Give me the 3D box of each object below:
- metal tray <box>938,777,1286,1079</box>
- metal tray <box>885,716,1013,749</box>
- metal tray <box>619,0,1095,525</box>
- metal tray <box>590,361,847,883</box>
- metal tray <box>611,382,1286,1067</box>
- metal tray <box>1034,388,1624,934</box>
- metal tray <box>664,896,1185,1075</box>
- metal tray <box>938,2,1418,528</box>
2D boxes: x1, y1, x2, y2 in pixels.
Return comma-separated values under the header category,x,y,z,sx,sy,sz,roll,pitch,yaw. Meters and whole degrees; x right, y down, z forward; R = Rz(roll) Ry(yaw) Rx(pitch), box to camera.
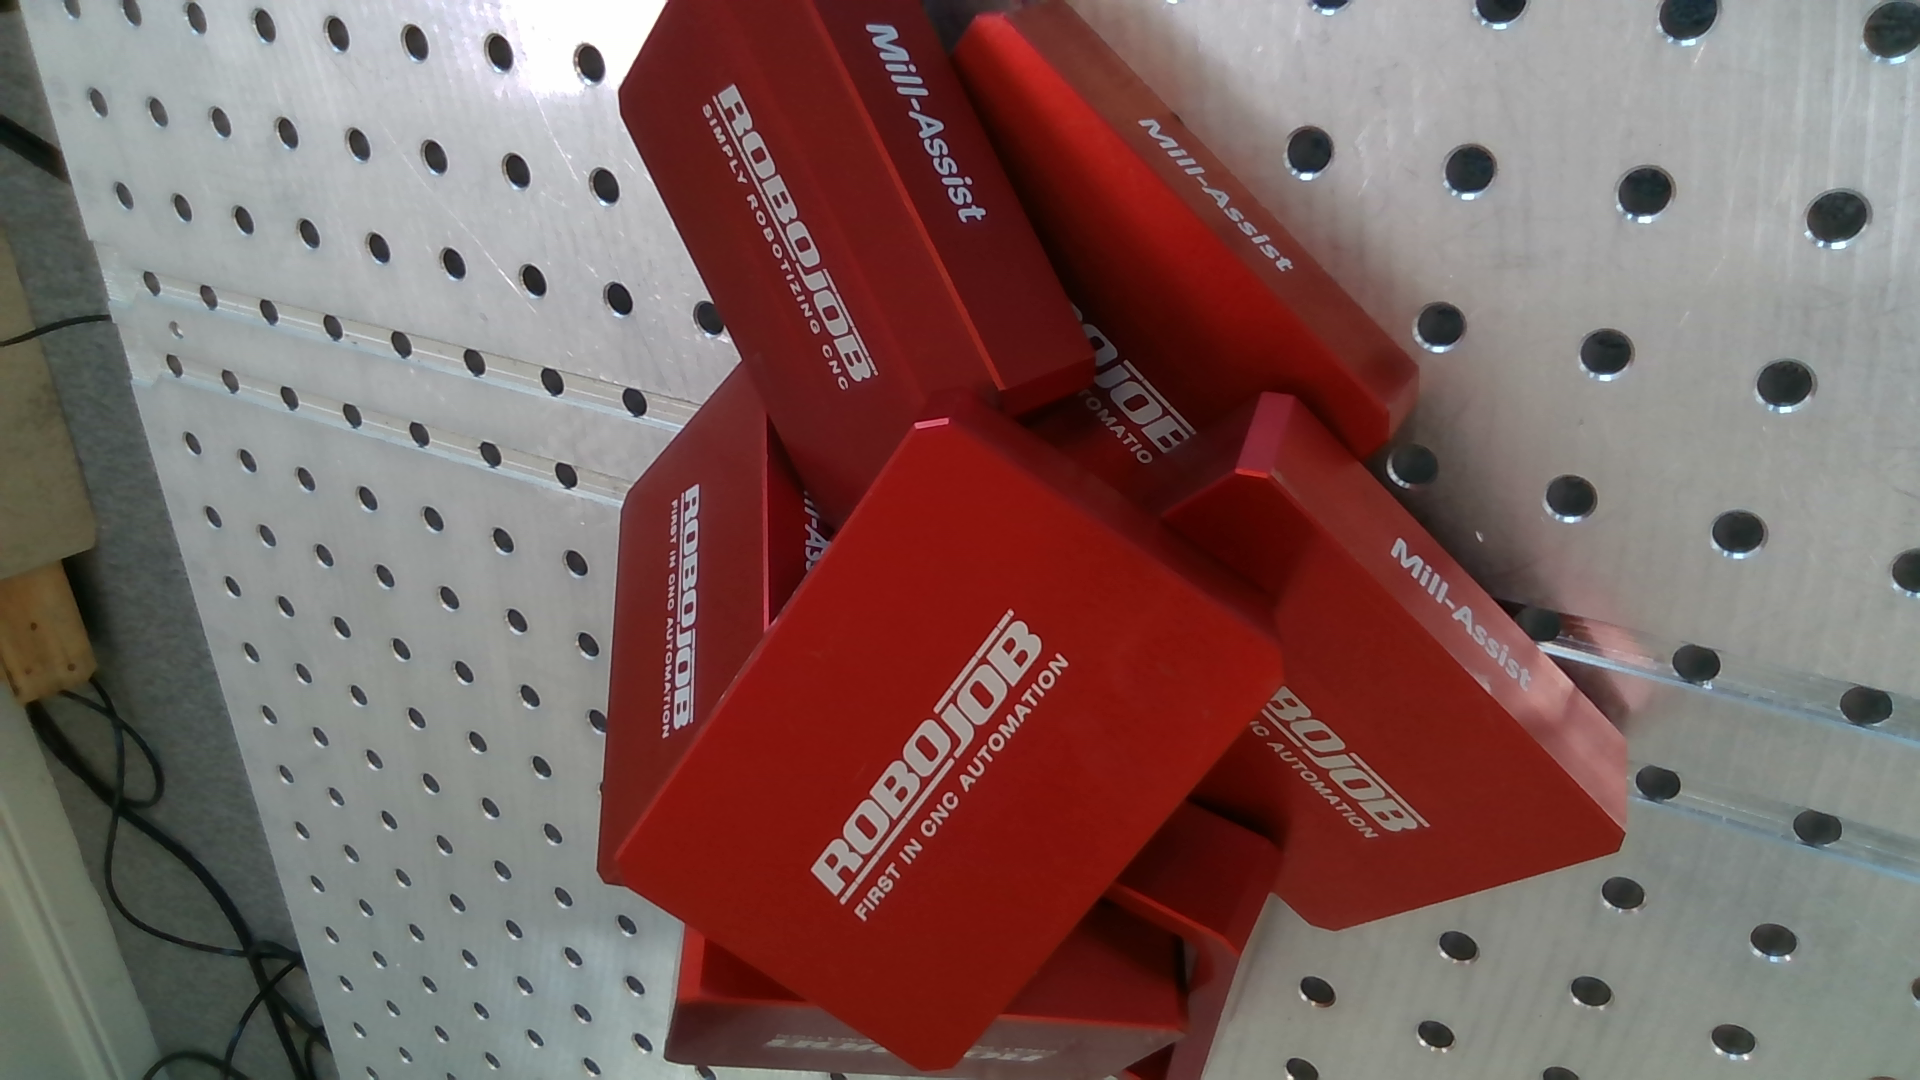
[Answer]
category,x,y,z,sx,sy,sz,roll,pitch,yaw
metal tray,0.036,0.110,0.397,0.090,0.030,0.130,23,145,19
metal tray,-0.016,0.066,0.396,0.030,0.090,0.130,51,129,-2
metal tray,-0.030,-0.077,0.335,0.090,0.030,0.130,-30,86,55
metal tray,-0.066,0.022,0.384,0.030,0.130,0.090,19,139,-32
metal tray,-0.005,0.043,0.301,0.090,0.030,0.130,34,109,-6
metal tray,0.083,0.036,0.332,0.130,0.030,0.090,43,133,-14
metal tray,-0.014,0.126,0.384,0.130,0.030,0.090,7,149,-10
metal tray,0.033,-0.053,0.338,0.130,0.030,0.090,46,130,1
